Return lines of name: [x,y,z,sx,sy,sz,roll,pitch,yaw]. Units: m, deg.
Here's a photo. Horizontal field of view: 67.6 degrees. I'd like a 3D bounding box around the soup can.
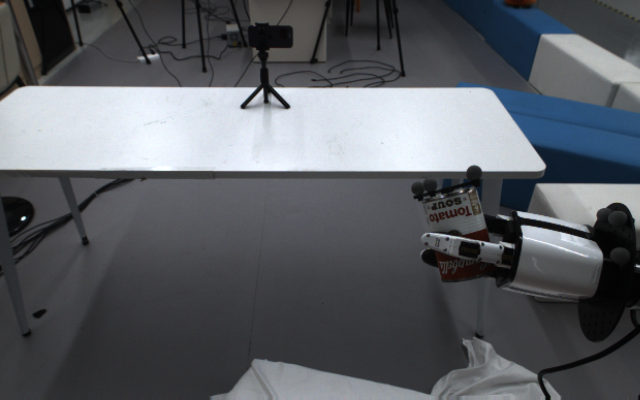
soup can: [0.168,0.040,0.583,0.067,0.101,0.067,-14,-2,-1]
